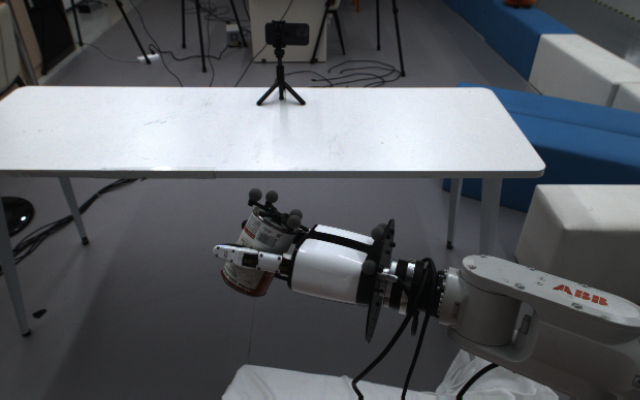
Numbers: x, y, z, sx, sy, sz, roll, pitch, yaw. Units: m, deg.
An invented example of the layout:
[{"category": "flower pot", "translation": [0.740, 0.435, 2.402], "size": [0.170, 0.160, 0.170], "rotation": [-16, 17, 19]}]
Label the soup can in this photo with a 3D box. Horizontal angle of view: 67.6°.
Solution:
[{"category": "soup can", "translation": [-0.079, 0.069, 0.645], "size": [0.067, 0.101, 0.067], "rotation": [27, 10, -5]}]
